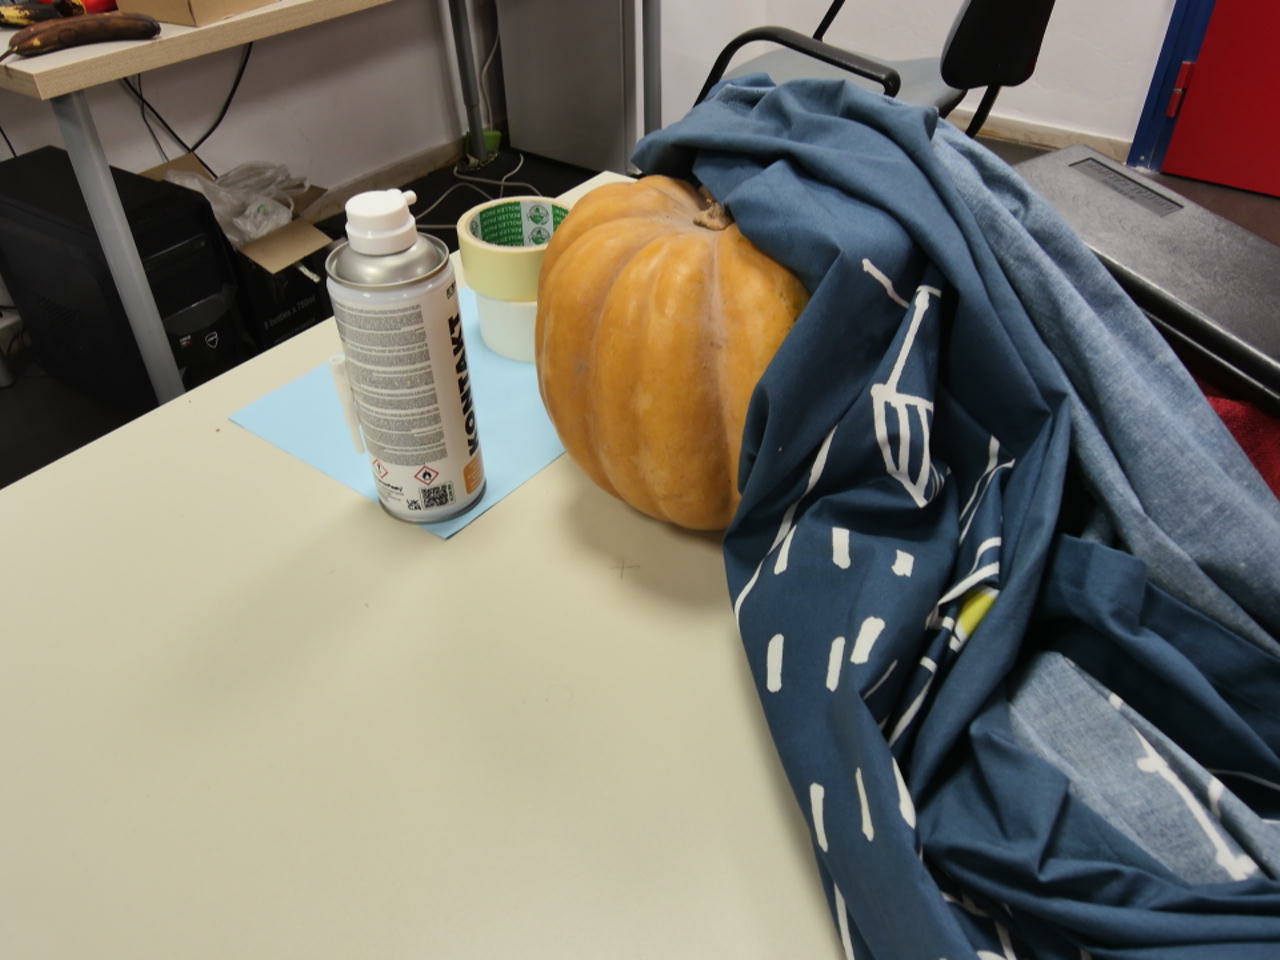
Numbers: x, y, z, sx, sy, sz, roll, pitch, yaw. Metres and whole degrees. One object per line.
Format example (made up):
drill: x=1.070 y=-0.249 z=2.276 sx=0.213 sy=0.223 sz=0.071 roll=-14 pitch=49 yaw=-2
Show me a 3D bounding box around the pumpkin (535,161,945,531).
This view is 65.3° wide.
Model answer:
pumpkin: x=0.052 y=-0.075 z=0.563 sx=0.230 sy=0.194 sz=0.230 roll=0 pitch=38 yaw=0
